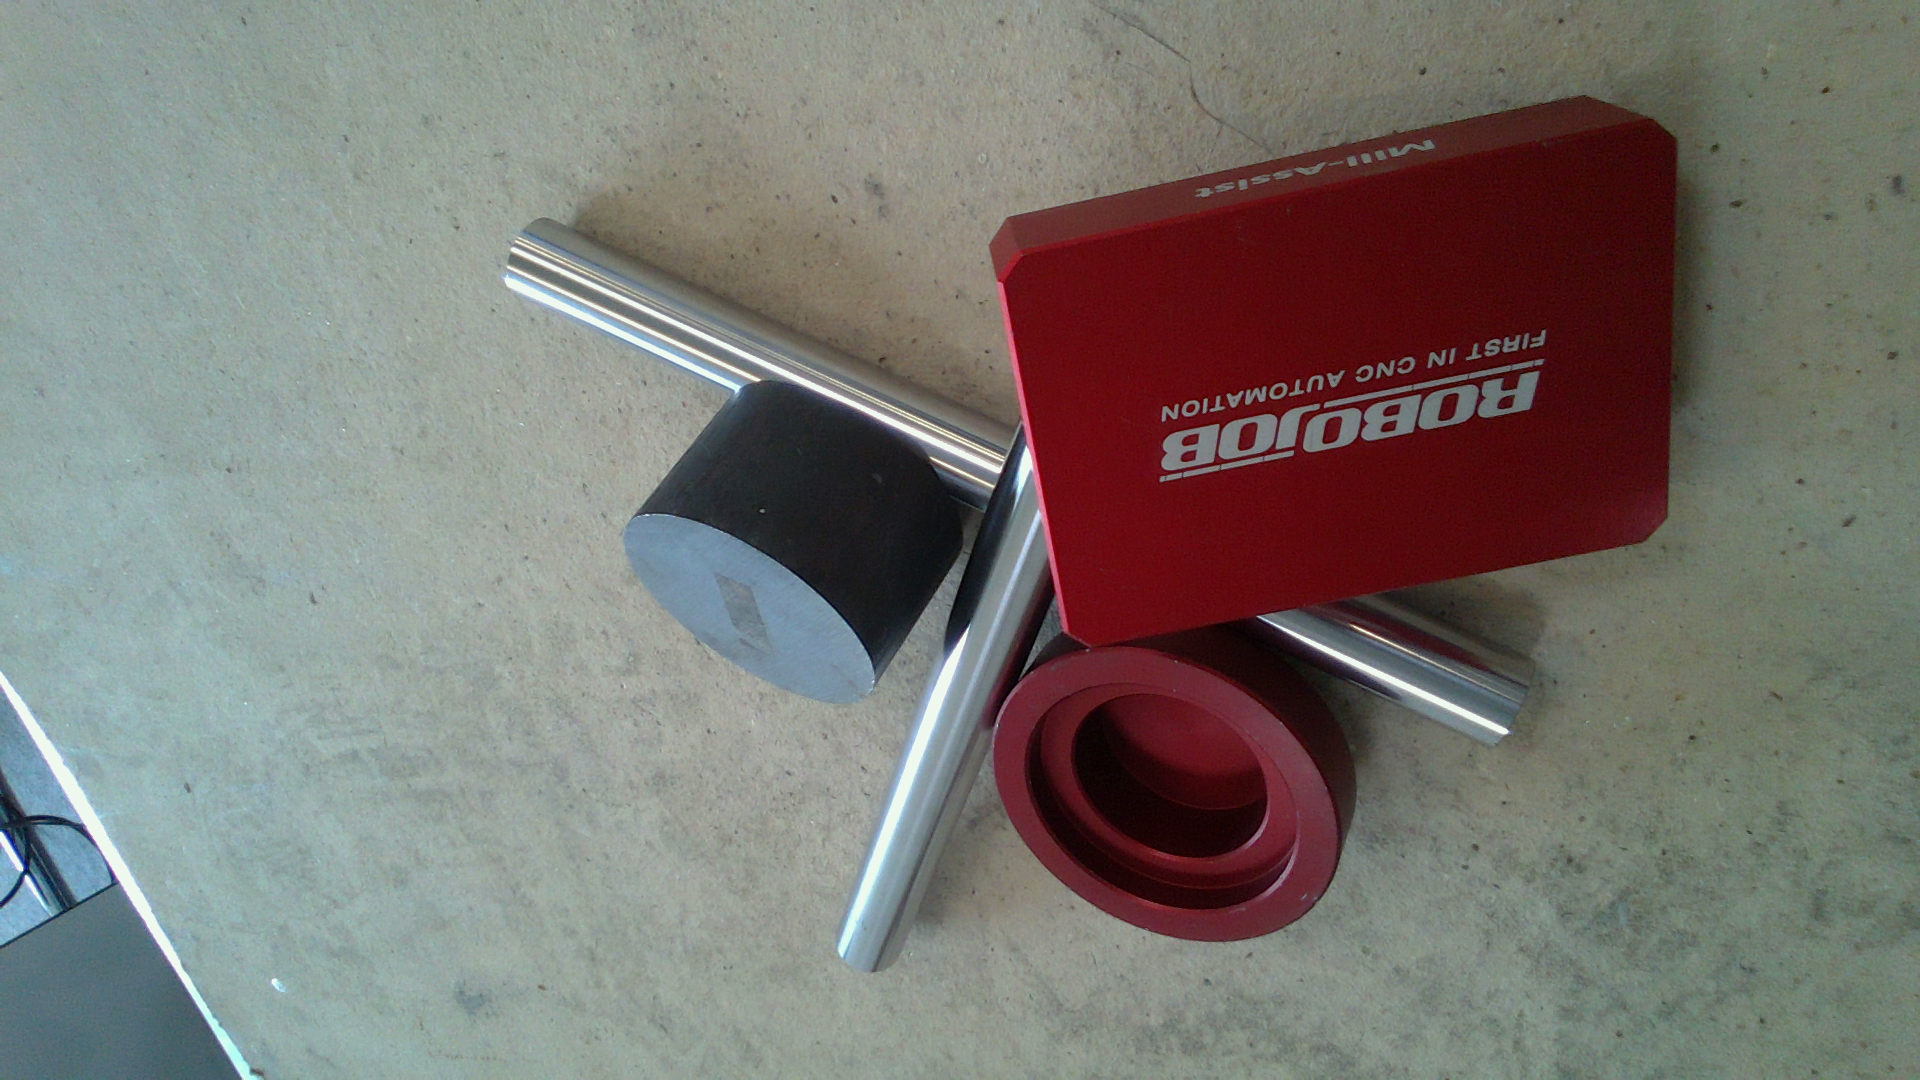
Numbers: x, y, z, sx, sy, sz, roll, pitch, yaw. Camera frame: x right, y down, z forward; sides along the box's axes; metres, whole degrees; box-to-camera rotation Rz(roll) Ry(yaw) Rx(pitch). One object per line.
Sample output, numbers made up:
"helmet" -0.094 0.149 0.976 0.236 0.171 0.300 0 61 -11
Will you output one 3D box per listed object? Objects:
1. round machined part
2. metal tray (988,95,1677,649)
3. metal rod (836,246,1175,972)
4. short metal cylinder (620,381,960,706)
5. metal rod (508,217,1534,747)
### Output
"round machined part" 0.062 0.061 0.387 0.098 0.042 0.098 13 124 21
"metal tray" 0.078 -0.033 0.291 0.130 0.030 0.090 -11 116 2
"metal rod" 0.001 0.044 0.397 0.025 0.025 0.300 29 135 10
"short metal cylinder" -0.047 0.002 0.387 0.080 0.050 0.080 25 151 15
"metal rod" 0.006 -0.022 0.377 0.299 0.025 0.025 25 128 12
